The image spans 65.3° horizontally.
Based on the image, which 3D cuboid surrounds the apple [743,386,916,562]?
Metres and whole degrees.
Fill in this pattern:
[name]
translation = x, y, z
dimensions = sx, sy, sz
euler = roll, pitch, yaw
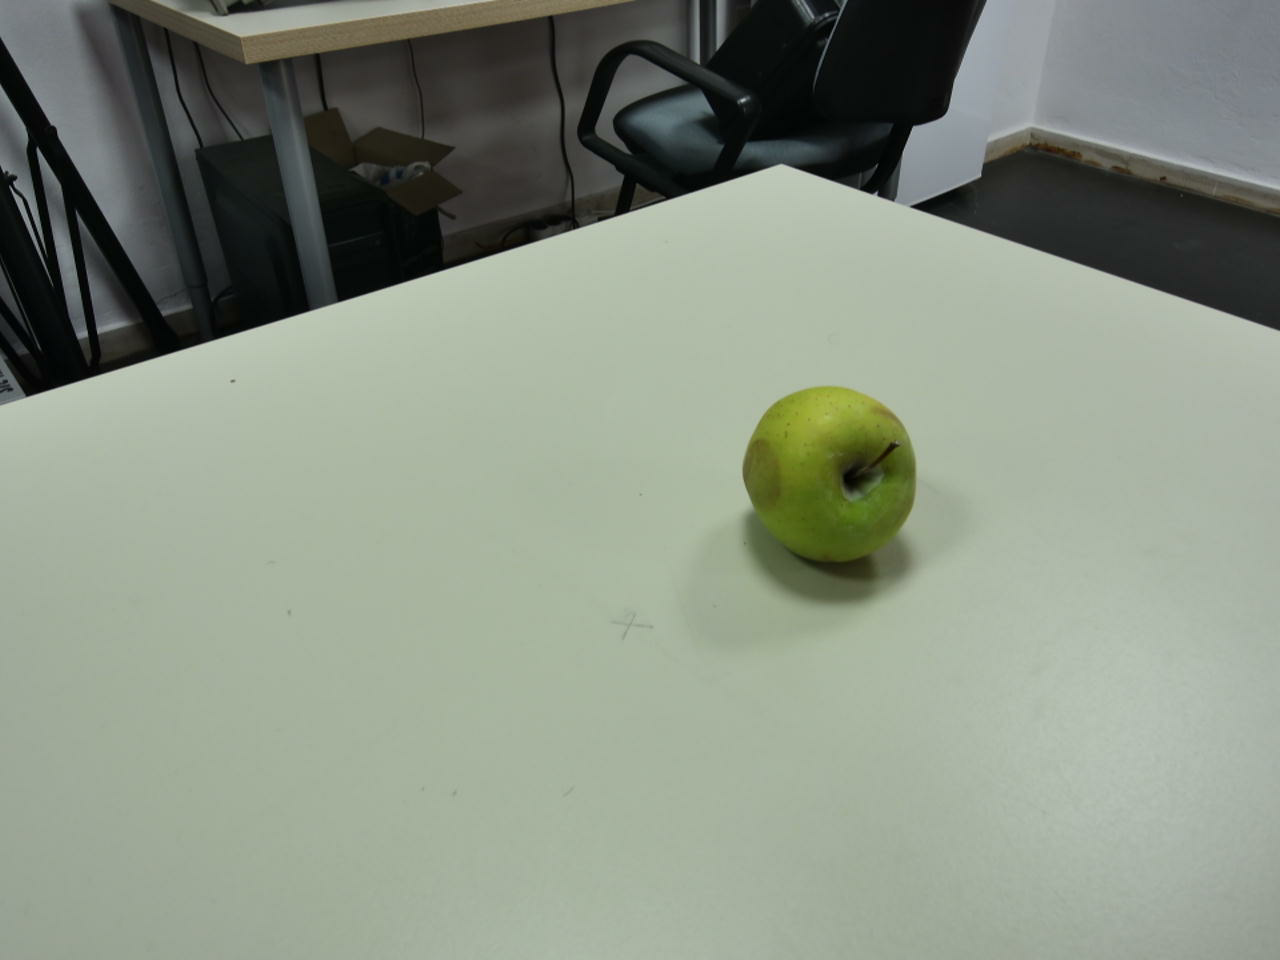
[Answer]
[apple]
translation = 0.081, -0.005, 0.430
dimensions = 0.072, 0.075, 0.077
euler = 4, 35, 6
